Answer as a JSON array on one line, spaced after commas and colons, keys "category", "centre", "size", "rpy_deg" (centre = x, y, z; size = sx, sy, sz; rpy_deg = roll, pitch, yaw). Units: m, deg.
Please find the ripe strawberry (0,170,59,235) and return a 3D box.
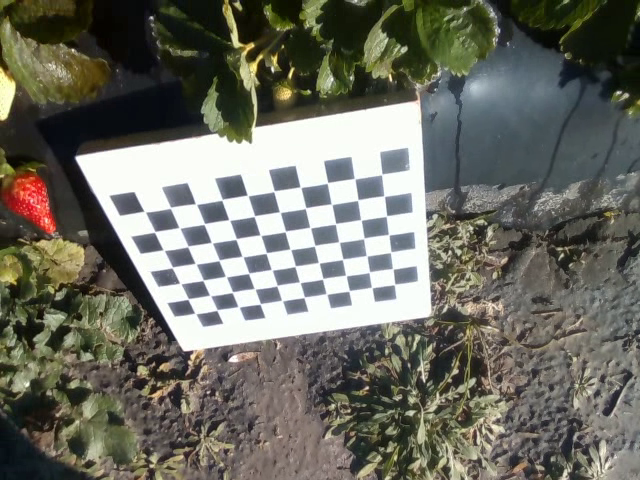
[{"category": "ripe strawberry", "centre": [-0.255, -0.029, 0.527], "size": [0.048, 0.069, 0.040], "rpy_deg": [-22, 34, 18]}]
